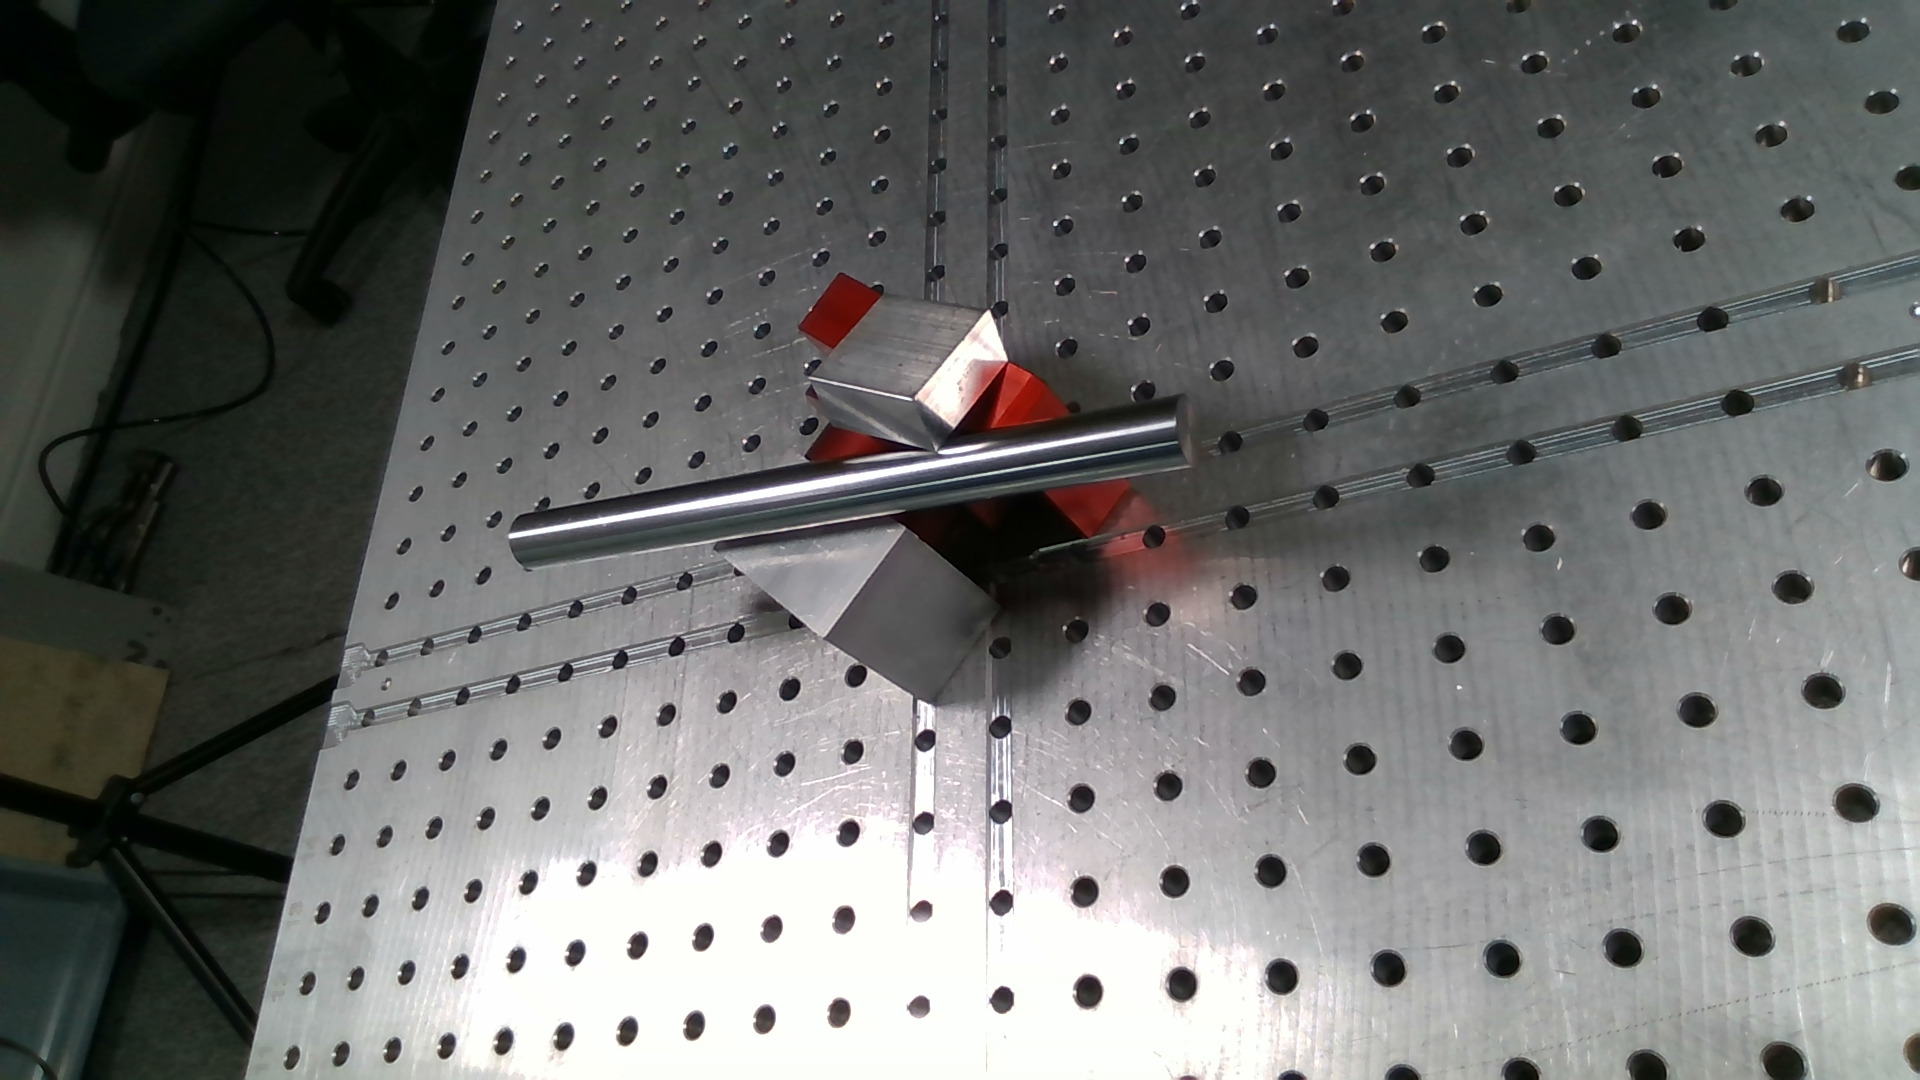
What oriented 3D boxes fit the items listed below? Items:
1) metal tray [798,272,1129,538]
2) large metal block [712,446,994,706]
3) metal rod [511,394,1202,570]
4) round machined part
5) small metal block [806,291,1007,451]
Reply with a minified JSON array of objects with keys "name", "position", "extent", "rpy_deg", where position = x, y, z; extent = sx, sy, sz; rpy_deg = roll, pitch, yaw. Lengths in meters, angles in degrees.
[{"name":"metal tray","position":[0.001,-0.057,0.576],"extent":[0.130,0.090,0.030],"rpy_deg":[34,86,39]},{"name":"large metal block","position":[-0.045,0.015,0.569],"extent":[0.080,0.080,0.050],"rpy_deg":[34,86,39]},{"name":"metal rod","position":[-0.055,-0.018,0.528],"extent":[0.300,0.025,0.025],"rpy_deg":[-8,62,28]},{"name":"round machined part","position":[-0.022,-0.031,0.577],"extent":[0.098,0.098,0.042],"rpy_deg":[33,85,39]},{"name":"small metal block","position":[-0.019,-0.063,0.508],"extent":[0.050,0.025,0.050],"rpy_deg":[16,56,35]}]
